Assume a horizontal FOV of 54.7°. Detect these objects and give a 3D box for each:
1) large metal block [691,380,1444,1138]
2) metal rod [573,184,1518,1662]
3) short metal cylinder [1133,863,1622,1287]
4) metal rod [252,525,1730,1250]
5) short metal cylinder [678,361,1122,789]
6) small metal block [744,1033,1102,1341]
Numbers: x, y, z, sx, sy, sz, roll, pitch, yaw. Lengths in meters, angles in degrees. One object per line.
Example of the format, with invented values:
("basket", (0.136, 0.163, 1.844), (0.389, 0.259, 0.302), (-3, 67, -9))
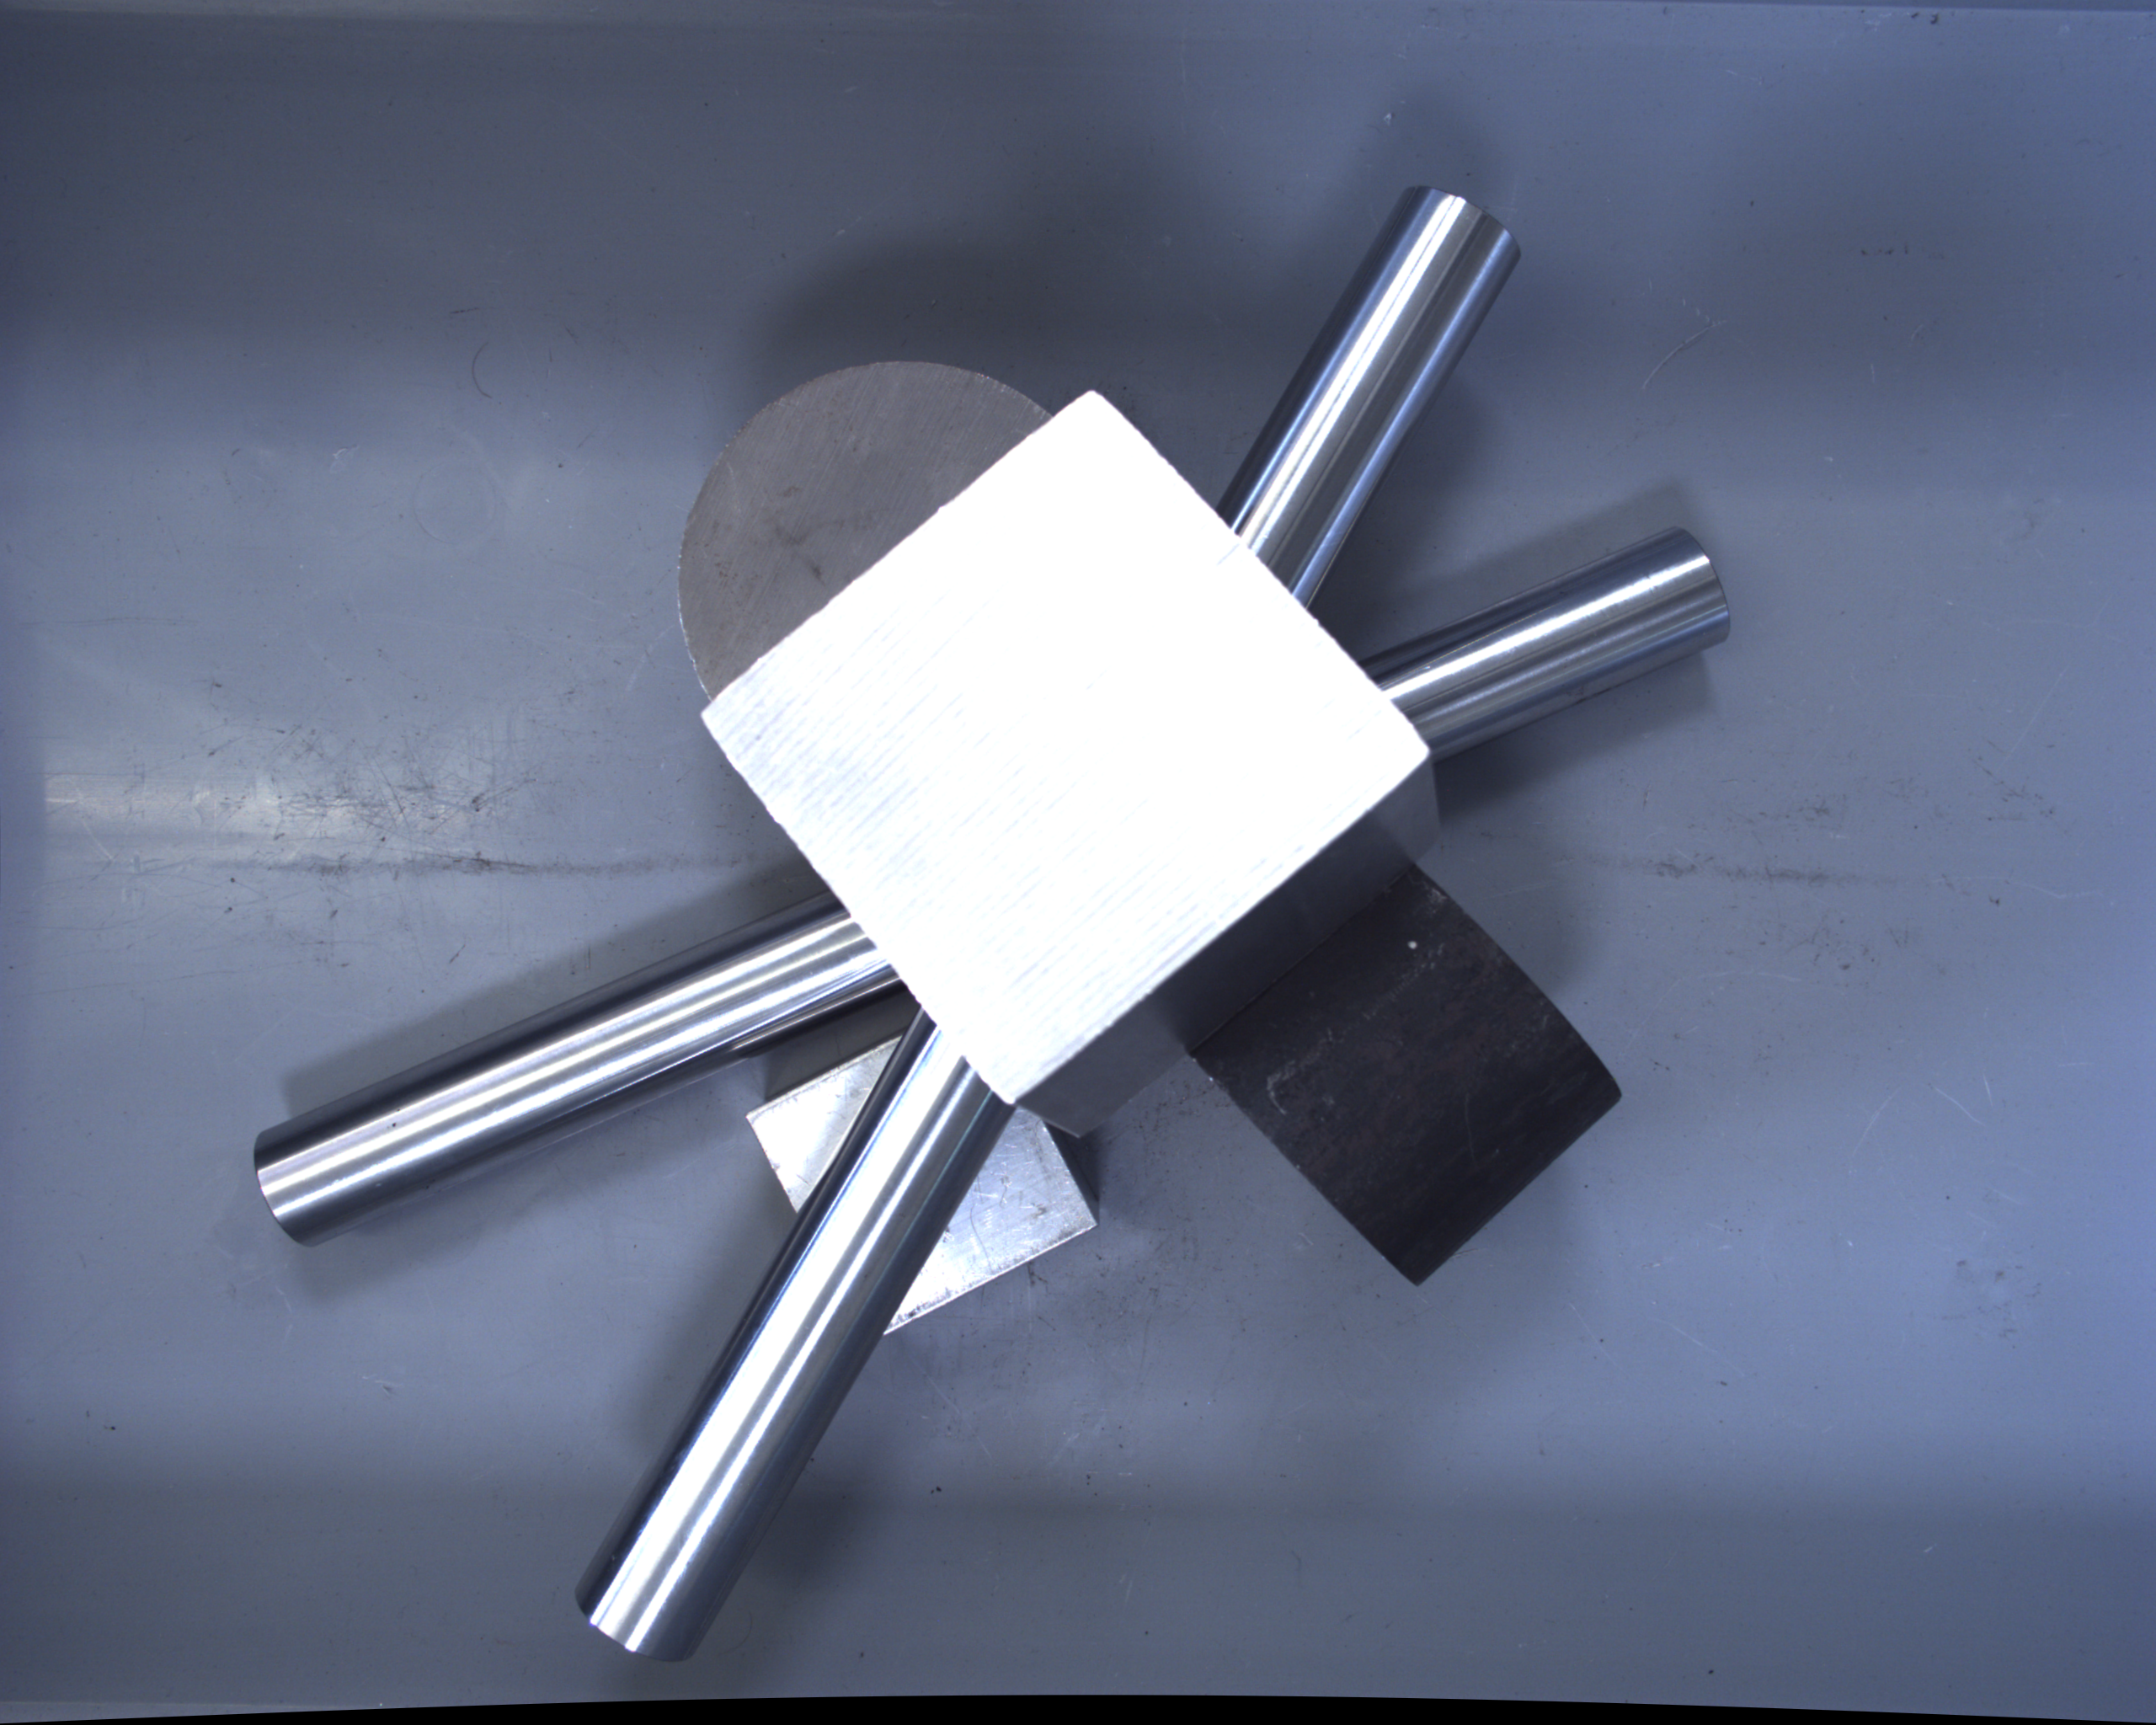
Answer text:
("large metal block", (0.001, -0.014, 0.334), (0.080, 0.050, 0.080), (-40, 73, 1))
("metal rod", (-0.006, 0.010, 0.385), (0.025, 0.025, 0.299), (31, 89, 0))
("short metal cylinder", (0.052, 0.031, 0.383), (0.050, 0.080, 0.080), (-43, 90, 1))
("metal rod", (-0.016, 0.005, 0.409), (0.301, 0.025, 0.025), (-23, 90, 0))
("short metal cylinder", (-0.031, -0.050, 0.397), (0.081, 0.050, 0.079), (0, 90, 0))
("small metal block", (-0.030, 0.059, 0.410), (0.050, 0.025, 0.050), (-28, 90, 0))
